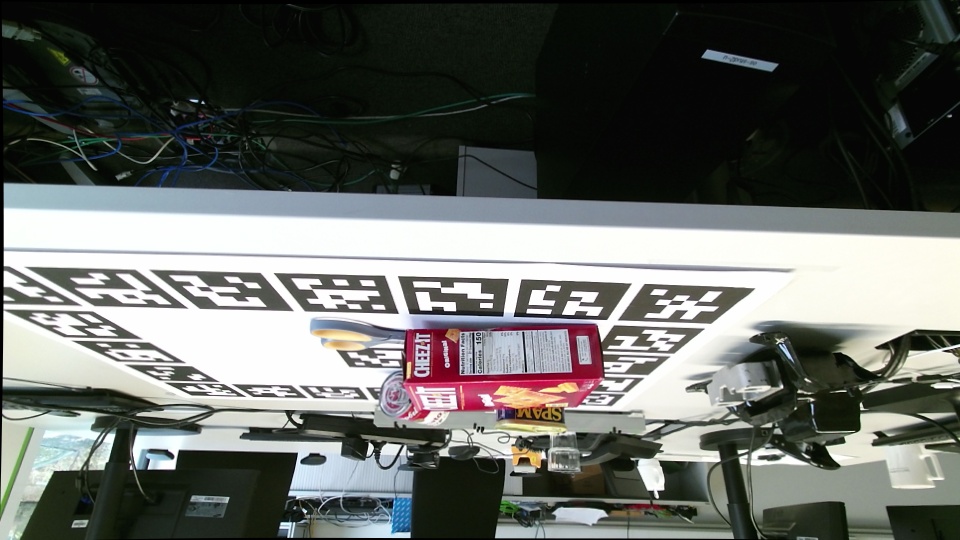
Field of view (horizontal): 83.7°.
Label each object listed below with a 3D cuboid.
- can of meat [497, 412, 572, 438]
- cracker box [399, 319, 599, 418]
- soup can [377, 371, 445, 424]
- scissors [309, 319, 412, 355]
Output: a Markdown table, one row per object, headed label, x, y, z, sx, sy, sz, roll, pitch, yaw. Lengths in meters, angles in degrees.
| label | x | y | z | sx | sy | sz | roll | pitch | yaw |
| --- | --- | --- | --- | --- | --- | --- | --- | --- | --- |
| can of meat | 0.076 | 0.189 | 0.764 | 0.102 | 0.083 | 0.058 | 9 | 150 | -12 |
| cracker box | 0.025 | 0.126 | 0.638 | 0.214 | 0.071 | 0.164 | -4 | 152 | 3 |
| soup can | -0.102 | 0.198 | 0.826 | 0.068 | 0.067 | 0.102 | -19 | 150 | 32 |
| scissors | -0.090 | 0.079 | 0.623 | 0.203 | 0.016 | 0.088 | -1 | 150 | 4 |
